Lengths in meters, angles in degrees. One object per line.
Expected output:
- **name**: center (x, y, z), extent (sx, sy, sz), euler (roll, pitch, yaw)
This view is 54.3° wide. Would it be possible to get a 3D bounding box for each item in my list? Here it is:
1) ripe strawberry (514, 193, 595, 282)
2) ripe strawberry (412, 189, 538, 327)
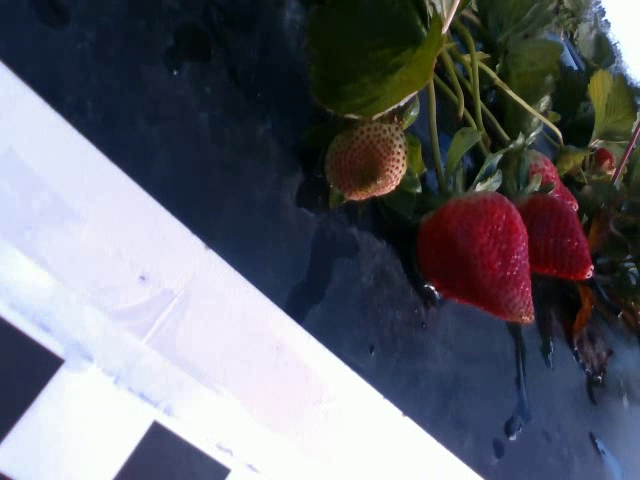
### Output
- **ripe strawberry**: center (0.116, 0.003, 0.311), extent (0.044, 0.042, 0.055), euler (-26, 54, -22)
- **ripe strawberry**: center (0.067, 0.008, 0.241), extent (0.050, 0.050, 0.065), euler (0, 39, -26)
